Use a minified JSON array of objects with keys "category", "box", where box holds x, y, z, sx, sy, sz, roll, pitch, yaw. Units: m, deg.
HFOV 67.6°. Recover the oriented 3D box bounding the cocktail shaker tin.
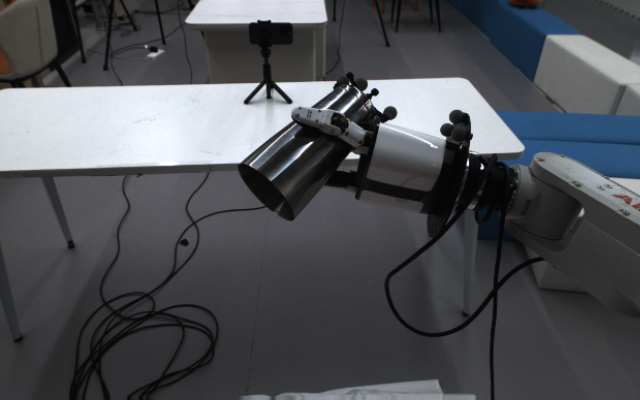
[{"category":"cocktail shaker tin","box":[-0.008,-0.070,0.598,0.093,0.093,0.170,32,66,36]}]
